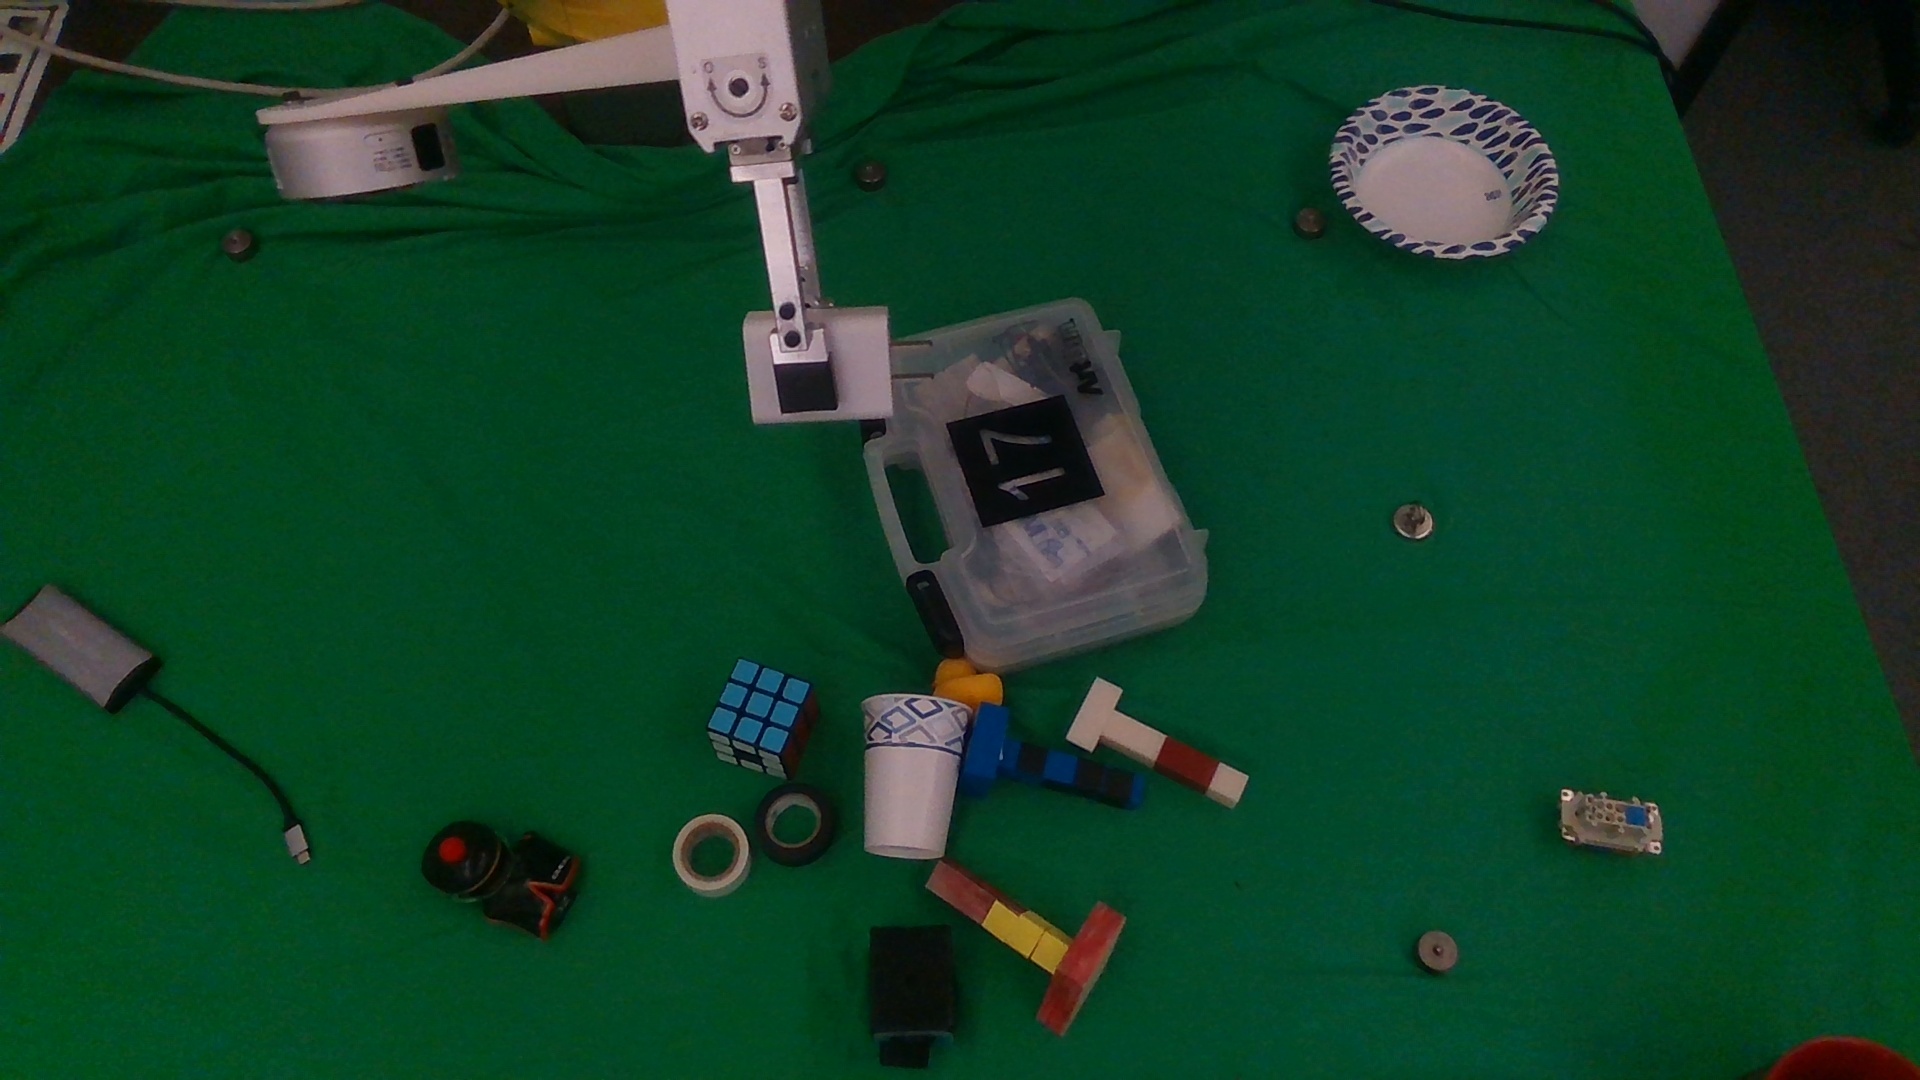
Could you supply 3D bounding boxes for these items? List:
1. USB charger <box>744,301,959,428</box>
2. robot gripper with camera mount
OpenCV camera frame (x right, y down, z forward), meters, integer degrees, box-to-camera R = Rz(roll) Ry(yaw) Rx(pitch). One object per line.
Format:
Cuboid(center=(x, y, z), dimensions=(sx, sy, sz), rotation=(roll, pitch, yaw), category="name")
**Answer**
Cuboid(center=(-0.039, -0.064, 0.502), dimensions=(0.075, 0.044, 0.029), rotation=(-1, 23, 3), category="USB charger")
Cuboid(center=(-0.136, -0.115, 0.490), dimensions=(0.193, 0.158, 0.119), rotation=(-8, 22, 8), category="robot gripper with camera mount")
